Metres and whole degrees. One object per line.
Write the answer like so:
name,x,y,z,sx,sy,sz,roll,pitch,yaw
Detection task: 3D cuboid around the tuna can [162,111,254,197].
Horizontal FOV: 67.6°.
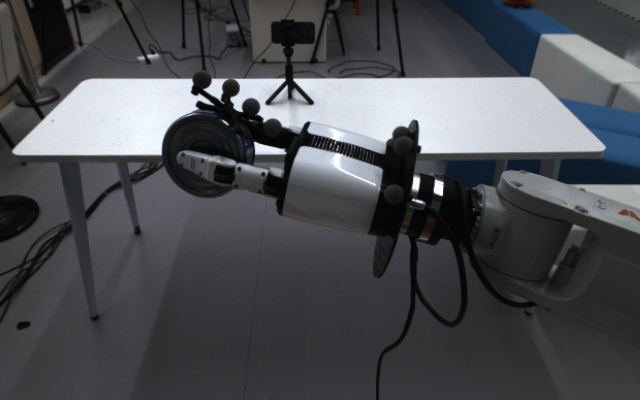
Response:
tuna can,-0.108,-0.046,0.478,0.085,0.085,0.034,6,19,6
